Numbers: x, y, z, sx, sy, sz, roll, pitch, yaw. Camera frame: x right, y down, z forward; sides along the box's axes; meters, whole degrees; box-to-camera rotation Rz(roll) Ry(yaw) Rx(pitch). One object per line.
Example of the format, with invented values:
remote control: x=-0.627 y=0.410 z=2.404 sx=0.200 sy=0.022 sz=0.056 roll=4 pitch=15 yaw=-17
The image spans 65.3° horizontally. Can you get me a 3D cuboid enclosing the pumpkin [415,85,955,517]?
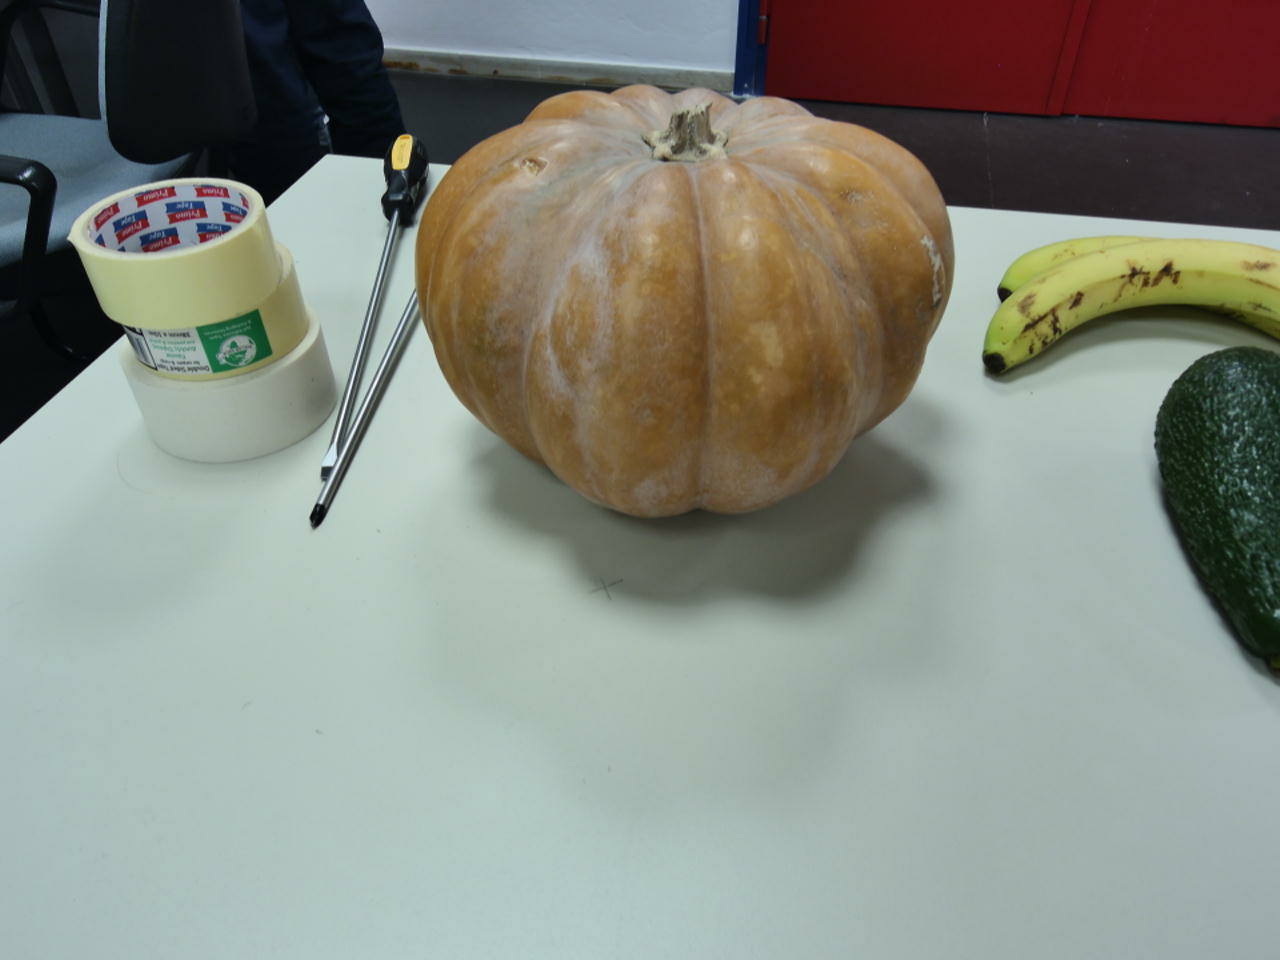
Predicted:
pumpkin: x=0.020 y=-0.099 z=0.513 sx=0.277 sy=0.181 sz=0.277 roll=0 pitch=39 yaw=0
